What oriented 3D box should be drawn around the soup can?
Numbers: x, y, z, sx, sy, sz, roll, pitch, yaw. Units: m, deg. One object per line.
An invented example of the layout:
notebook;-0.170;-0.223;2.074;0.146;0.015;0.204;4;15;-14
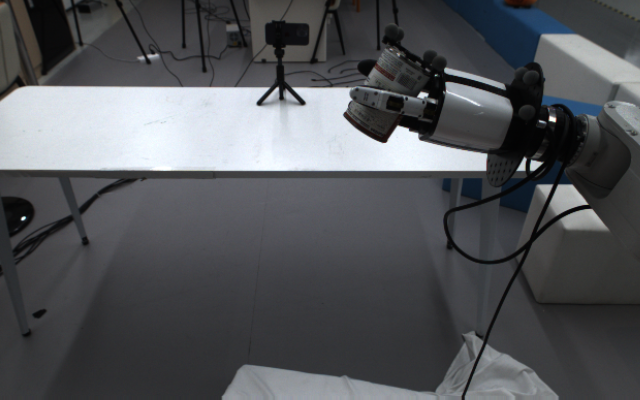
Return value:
soup can;0.085;-0.134;0.613;0.067;0.101;0.067;28;22;-12
